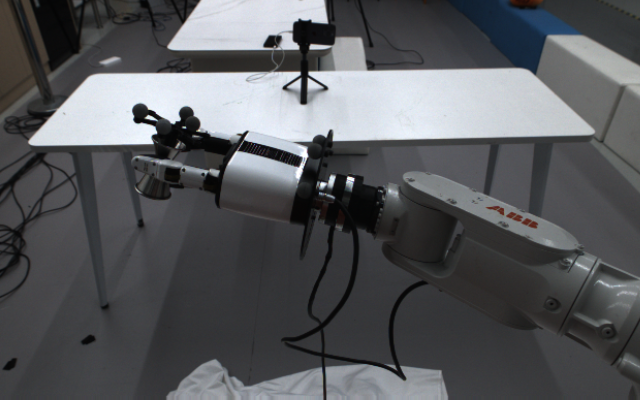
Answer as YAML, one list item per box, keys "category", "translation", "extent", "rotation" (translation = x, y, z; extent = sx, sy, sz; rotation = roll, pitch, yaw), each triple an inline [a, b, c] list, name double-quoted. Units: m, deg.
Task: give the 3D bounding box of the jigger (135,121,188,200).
- category: "jigger"
  translation: [-0.190, -0.039, 0.577]
  extent: [0.043, 0.071, 0.043]
  rotation: [22, 19, -8]
